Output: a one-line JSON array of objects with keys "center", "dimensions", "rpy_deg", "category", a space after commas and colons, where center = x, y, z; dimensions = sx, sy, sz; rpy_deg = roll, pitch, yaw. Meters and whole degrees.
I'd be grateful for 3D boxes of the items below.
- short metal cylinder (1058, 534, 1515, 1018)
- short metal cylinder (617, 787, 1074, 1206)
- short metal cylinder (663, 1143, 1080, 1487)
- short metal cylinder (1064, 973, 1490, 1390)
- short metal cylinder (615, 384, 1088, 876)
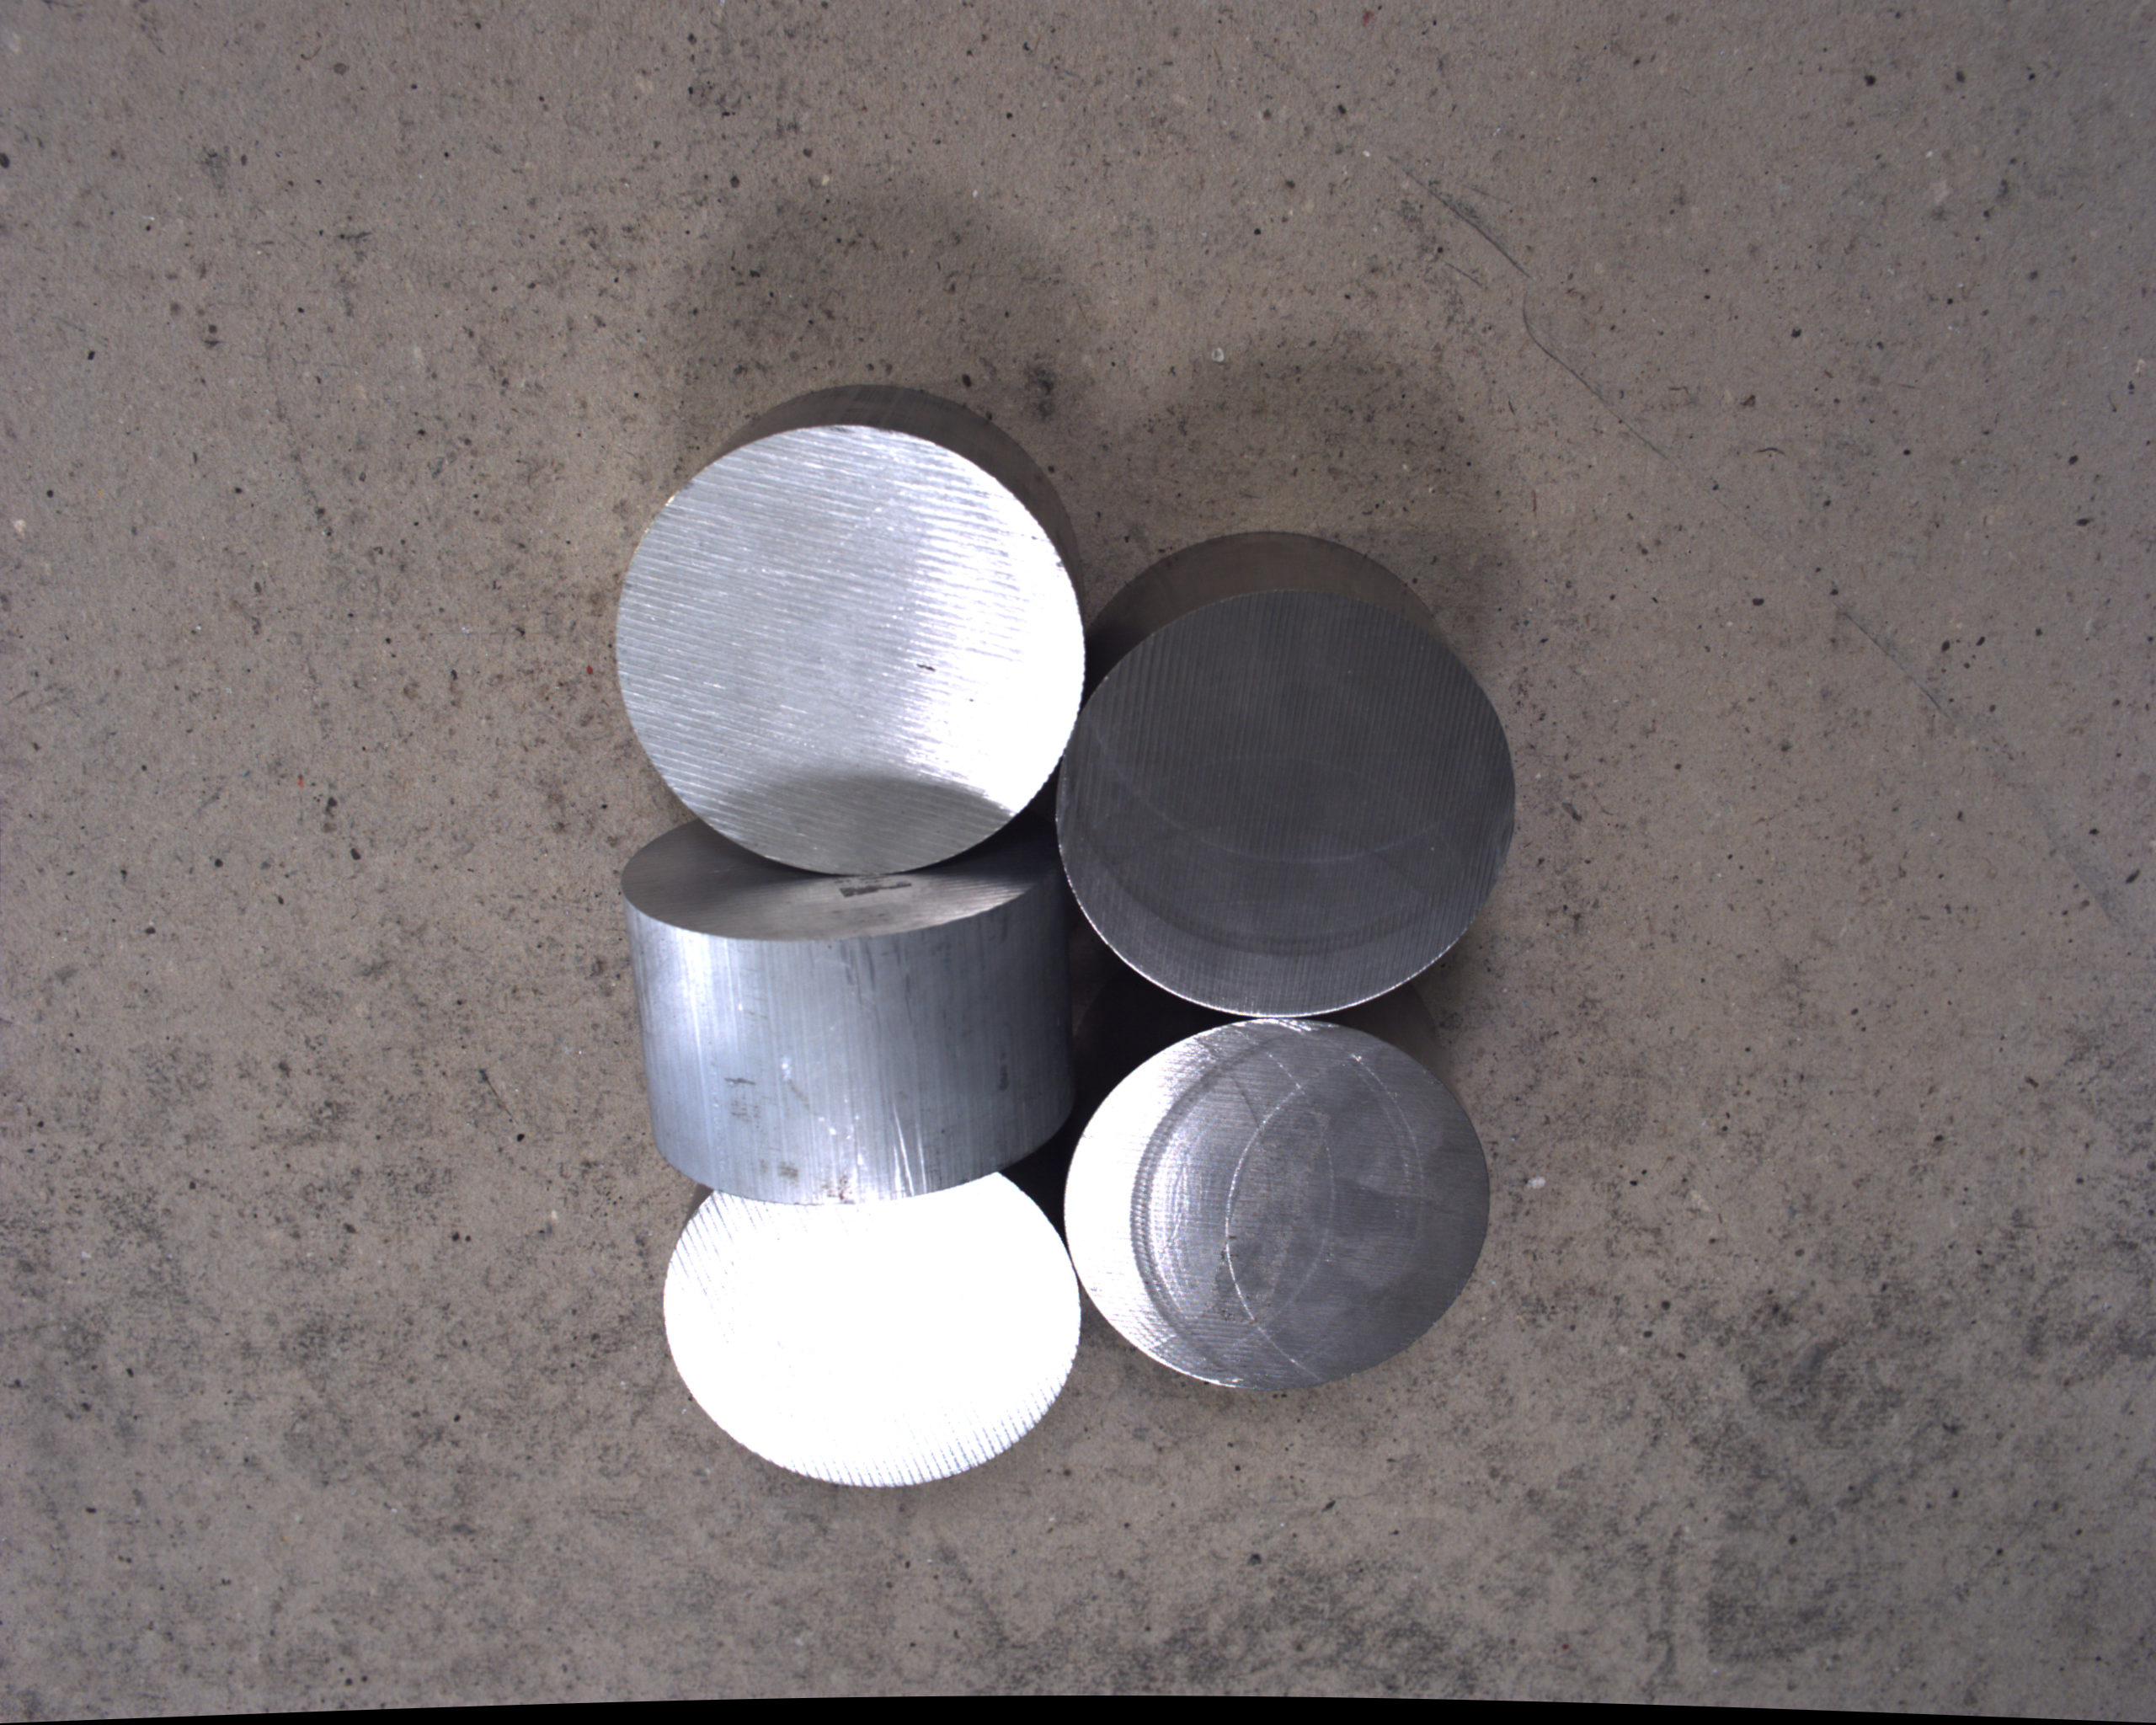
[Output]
[{"center": [0.037, -0.018, 0.391], "dimensions": [0.081, 0.050, 0.079], "rpy_deg": [0, 111, 0], "category": "short metal cylinder"}, {"center": [-0.042, 0.022, 0.389], "dimensions": [0.080, 0.080, 0.050], "rpy_deg": [-3, 110, 1], "category": "short metal cylinder"}, {"center": [-0.040, 0.079, 0.426], "dimensions": [0.080, 0.050, 0.079], "rpy_deg": [0, 110, 1], "category": "short metal cylinder"}, {"center": [0.038, 0.057, 0.418], "dimensions": [0.080, 0.050, 0.079], "rpy_deg": [0, 111, 1], "category": "short metal cylinder"}, {"center": [-0.039, -0.044, 0.381], "dimensions": [0.080, 0.050, 0.079], "rpy_deg": [0, 110, 1], "category": "short metal cylinder"}]
